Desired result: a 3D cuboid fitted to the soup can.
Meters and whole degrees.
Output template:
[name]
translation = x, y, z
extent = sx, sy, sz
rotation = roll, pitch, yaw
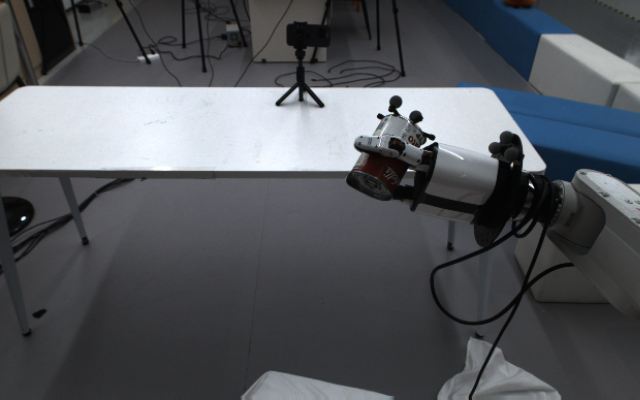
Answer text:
[soup can]
translation = 0.094, -0.060, 0.667
extent = 0.067, 0.067, 0.101
rotation = 22, 71, 26
